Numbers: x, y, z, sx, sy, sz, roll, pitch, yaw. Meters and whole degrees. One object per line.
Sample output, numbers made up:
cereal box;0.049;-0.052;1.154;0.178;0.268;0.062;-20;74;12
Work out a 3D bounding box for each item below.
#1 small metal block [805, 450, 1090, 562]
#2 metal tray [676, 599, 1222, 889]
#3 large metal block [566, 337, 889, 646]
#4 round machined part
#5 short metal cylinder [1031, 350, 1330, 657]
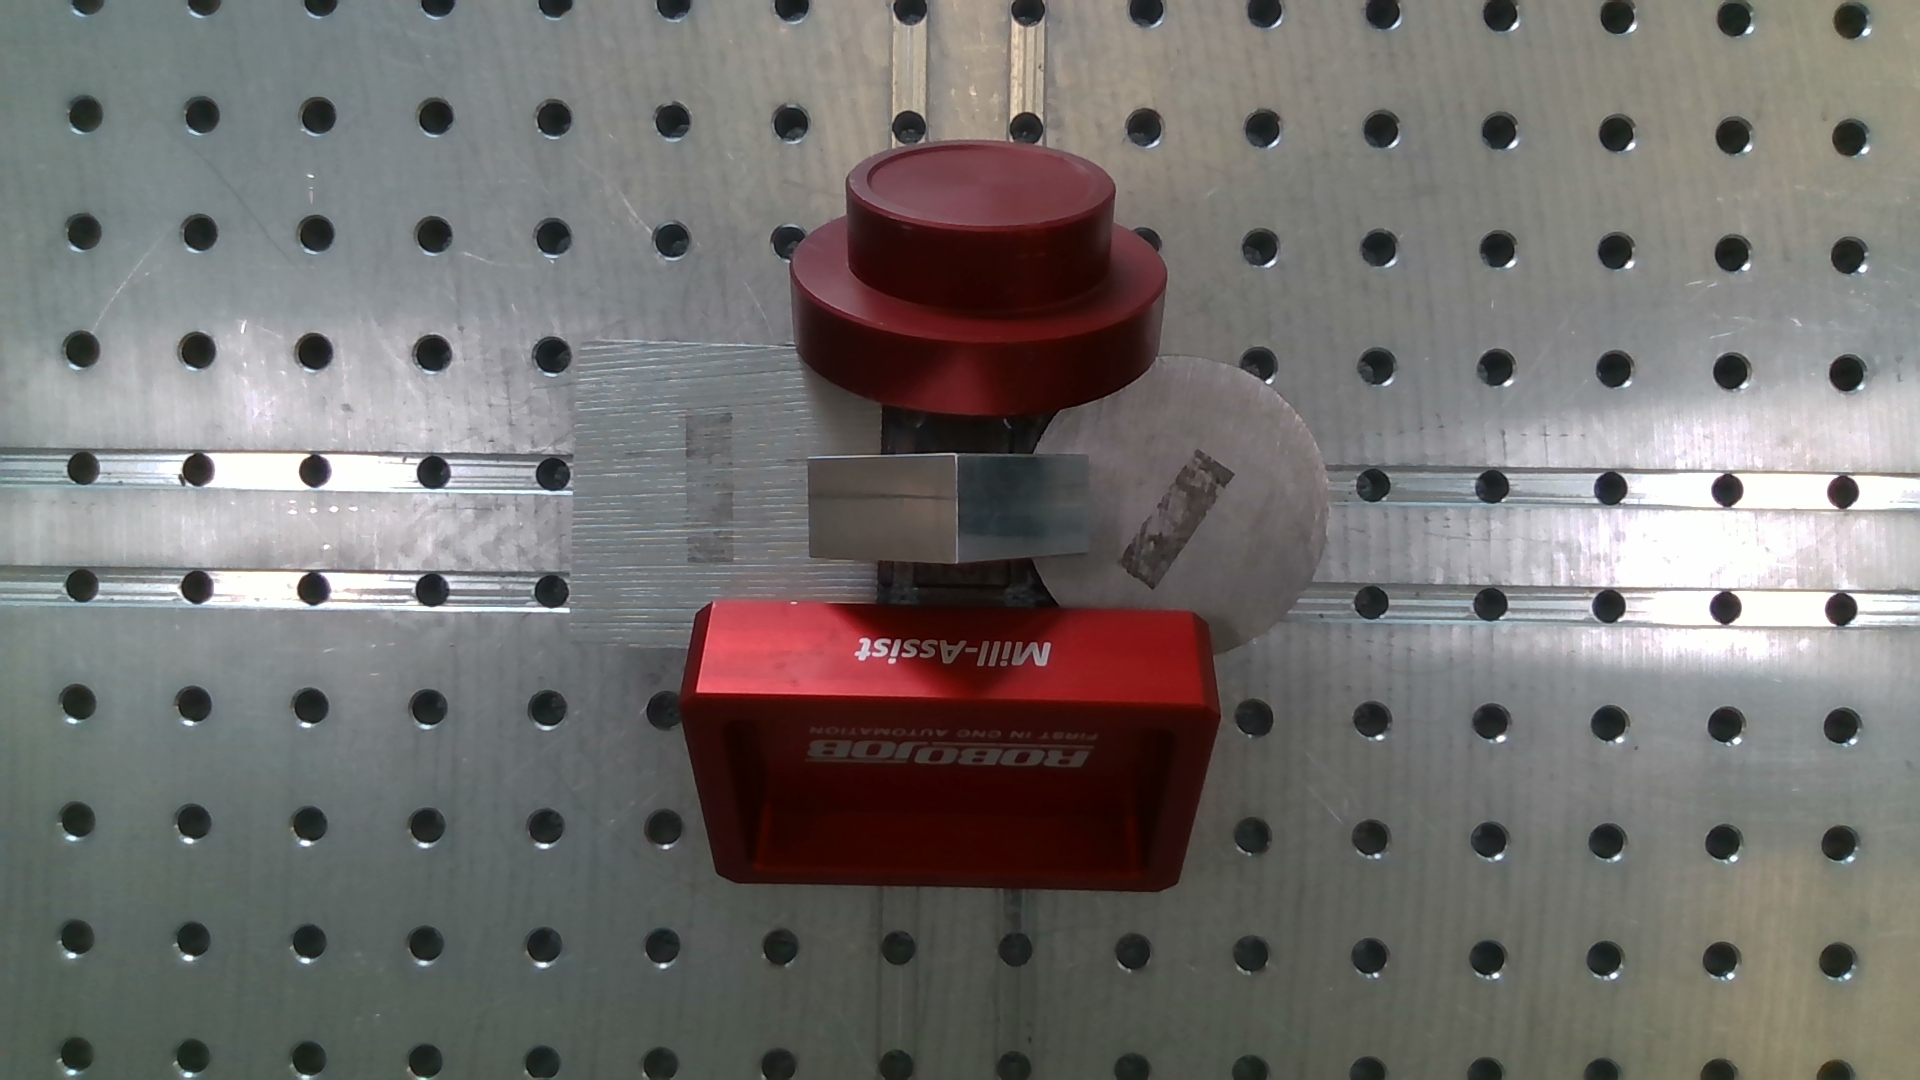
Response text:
small metal block;-0.003;-0.009;0.343;0.050;0.050;0.025;2;94;42
metal tray;-0.003;0.057;0.367;0.130;0.090;0.030;1;47;0
large metal block;-0.062;-0.012;0.385;0.080;0.050;0.080;2;90;0
round machined part;0.004;-0.074;0.357;0.098;0.098;0.042;1;123;0
short metal cylinder;0.057;-0.009;0.384;0.080;0.050;0.080;0;90;0
